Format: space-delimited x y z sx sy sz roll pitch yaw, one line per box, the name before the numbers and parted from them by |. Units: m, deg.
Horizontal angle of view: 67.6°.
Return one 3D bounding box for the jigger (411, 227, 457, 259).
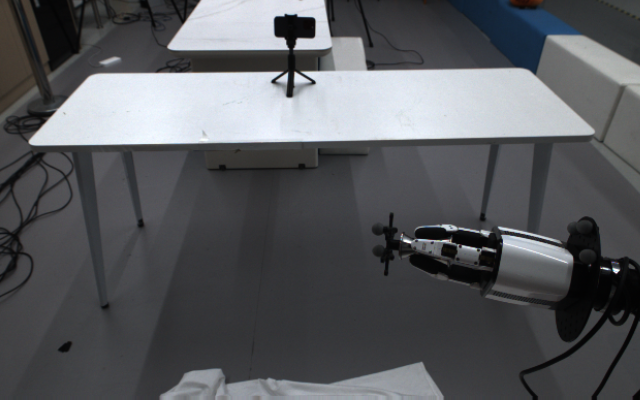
jigger | 0.153 0.061 0.666 0.071 0.043 0.043 4 34 18
